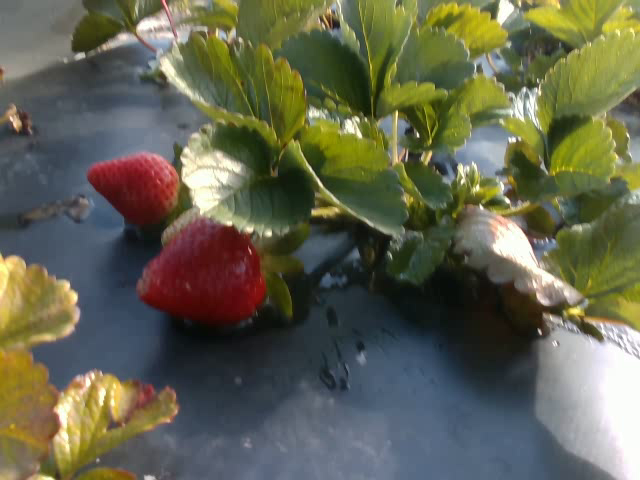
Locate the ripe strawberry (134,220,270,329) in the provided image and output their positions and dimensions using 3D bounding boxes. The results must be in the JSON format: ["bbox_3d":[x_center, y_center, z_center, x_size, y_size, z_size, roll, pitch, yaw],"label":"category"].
[{"bbox_3d":[-0.056,0.012,0.260,0.064,0.050,0.048,-30,2,-34],"label":"ripe strawberry"}]
